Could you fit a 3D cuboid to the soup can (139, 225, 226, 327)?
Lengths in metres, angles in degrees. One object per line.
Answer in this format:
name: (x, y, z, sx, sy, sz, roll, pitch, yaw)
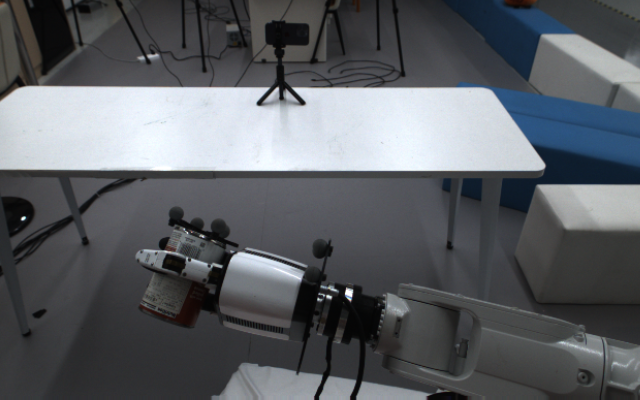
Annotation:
soup can: (-0.157, 0.091, 0.565, 0.067, 0.067, 0.101, 16, 76, 19)
